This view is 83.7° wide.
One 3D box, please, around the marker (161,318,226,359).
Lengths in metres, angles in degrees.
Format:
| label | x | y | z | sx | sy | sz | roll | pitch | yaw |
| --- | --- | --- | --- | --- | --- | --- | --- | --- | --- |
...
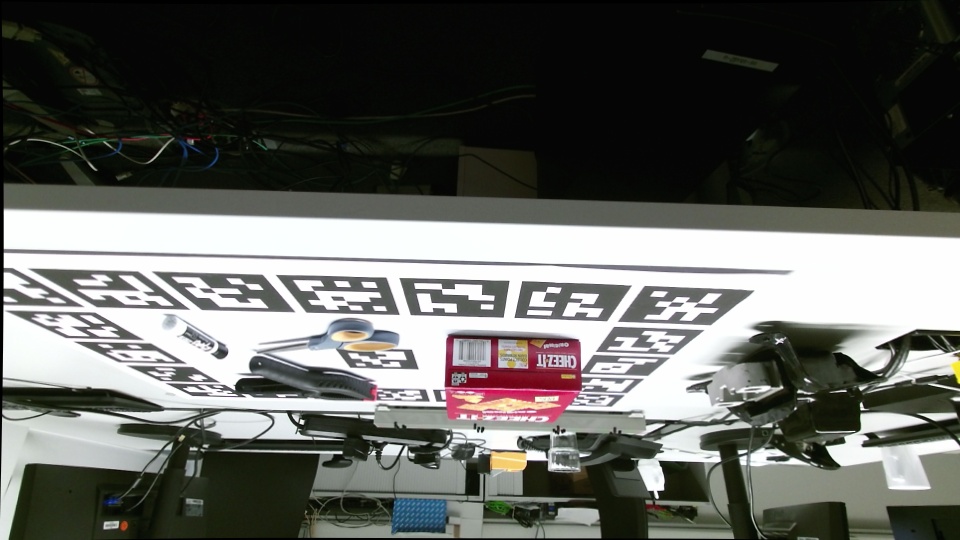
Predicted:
| label | x | y | z | sx | sy | sz | roll | pitch | yaw |
| --- | --- | --- | --- | --- | --- | --- | --- | --- | --- |
| marker | -0.344 | 0.088 | 0.651 | 0.020 | 0.019 | 0.121 | 0 | 154 | 3 |

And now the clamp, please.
| label | x | y | z | sx | sy | sz | roll | pitch | yaw |
| --- | --- | --- | --- | --- | --- | --- | --- | --- | --- |
| clamp | -0.254 | 0.173 | 0.827 | 0.204 | 0.036 | 0.165 | 17 | 151 | -26 |

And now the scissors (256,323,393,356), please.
| label | x | y | z | sx | sy | sz | roll | pitch | yaw |
| --- | --- | --- | --- | --- | --- | --- | --- | --- | --- |
| scissors | -0.201 | 0.093 | 0.657 | 0.203 | 0.016 | 0.088 | -10 | 152 | 27 |

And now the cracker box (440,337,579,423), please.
| label | x | y | z | sx | sy | sz | roll | pitch | yaw |
| --- | --- | --- | --- | --- | --- | --- | --- | --- | --- |
| cracker box | 0.030 | 0.158 | 0.719 | 0.165 | 0.071 | 0.214 | 2 | 153 | -1 |
